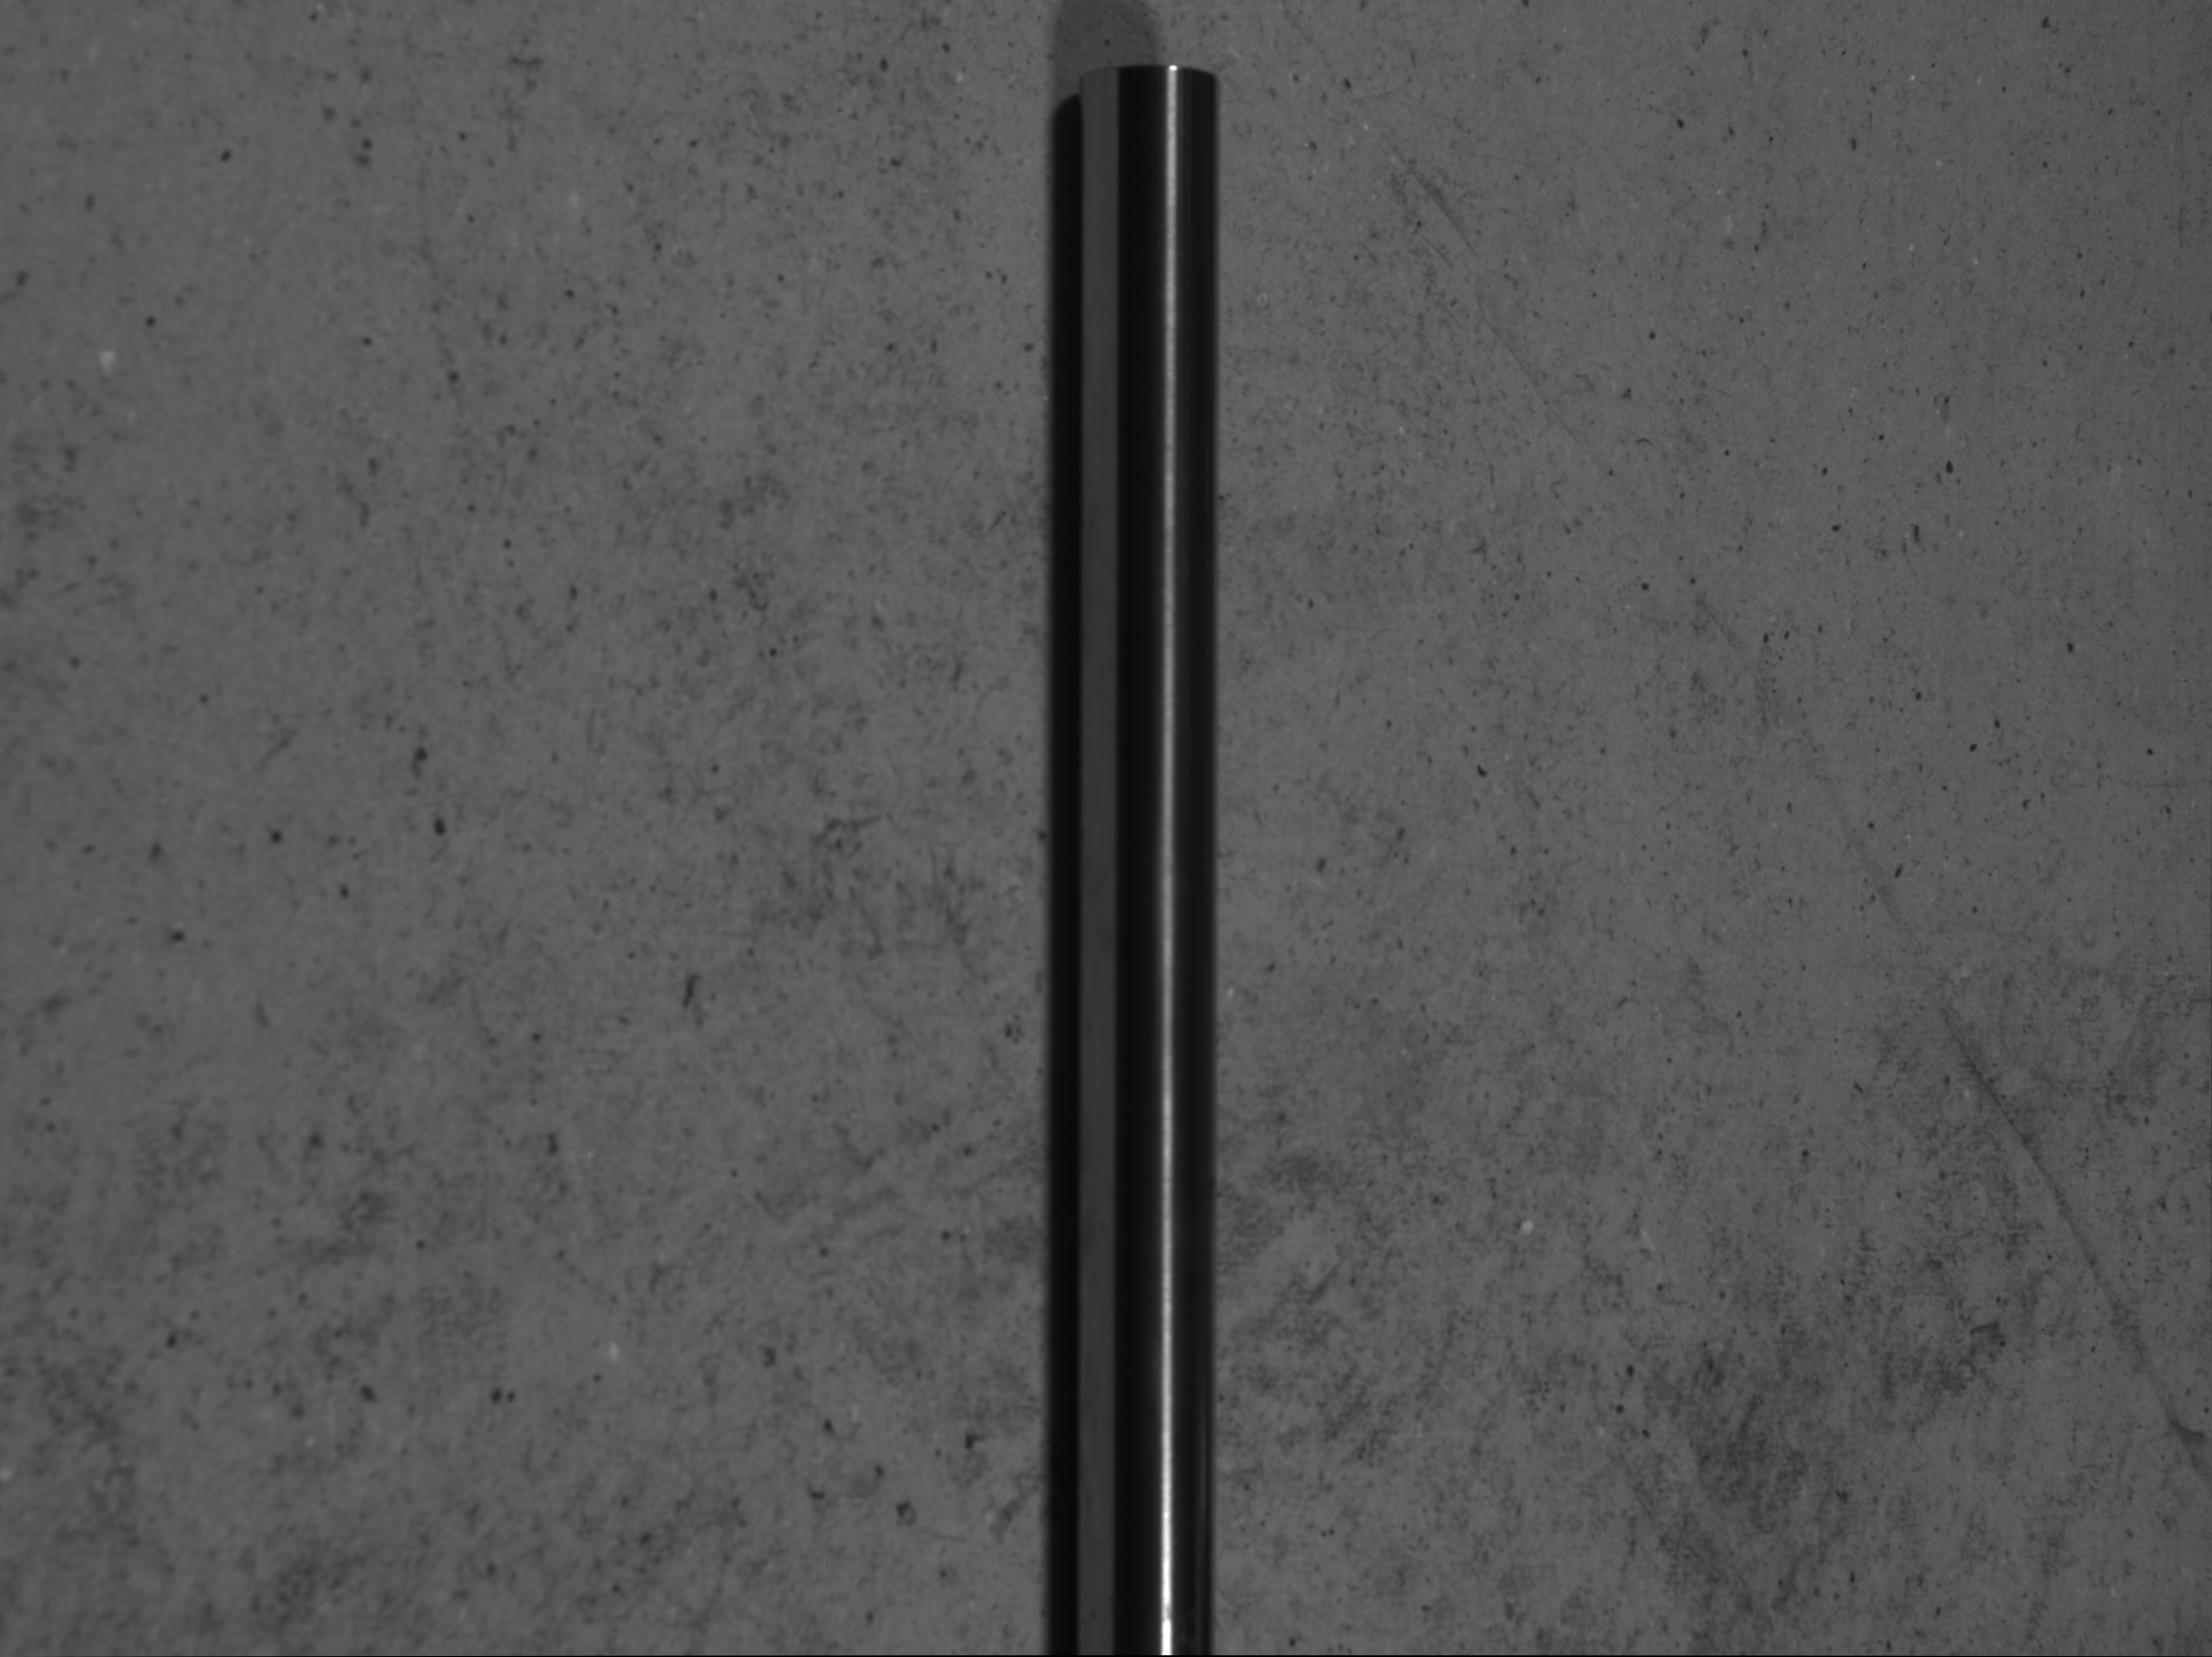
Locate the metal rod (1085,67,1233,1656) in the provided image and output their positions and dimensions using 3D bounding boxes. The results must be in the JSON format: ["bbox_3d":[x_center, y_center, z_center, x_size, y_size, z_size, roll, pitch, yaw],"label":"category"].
[{"bbox_3d":[0.009,0.018,0.645,0.025,0.025,0.300,1,90,-40],"label":"metal rod"}]
